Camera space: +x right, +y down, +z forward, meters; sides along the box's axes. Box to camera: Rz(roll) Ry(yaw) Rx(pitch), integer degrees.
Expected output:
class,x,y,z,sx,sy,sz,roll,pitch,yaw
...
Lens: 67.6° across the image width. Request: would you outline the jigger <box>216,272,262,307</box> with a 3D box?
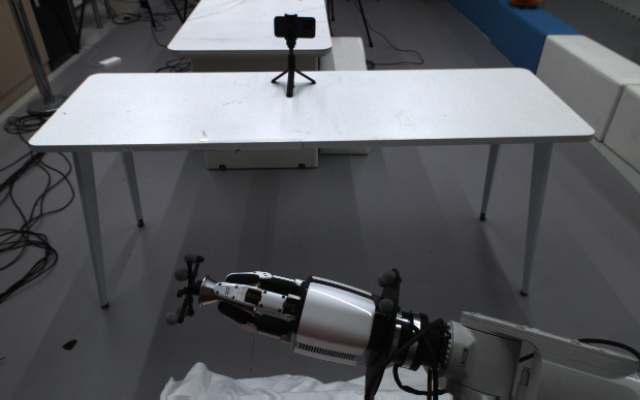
class,x,y,z,sx,sy,sz,roll,pitch,yaw
jigger,-0.104,0.116,0.603,0.071,0.043,0.043,9,35,2
